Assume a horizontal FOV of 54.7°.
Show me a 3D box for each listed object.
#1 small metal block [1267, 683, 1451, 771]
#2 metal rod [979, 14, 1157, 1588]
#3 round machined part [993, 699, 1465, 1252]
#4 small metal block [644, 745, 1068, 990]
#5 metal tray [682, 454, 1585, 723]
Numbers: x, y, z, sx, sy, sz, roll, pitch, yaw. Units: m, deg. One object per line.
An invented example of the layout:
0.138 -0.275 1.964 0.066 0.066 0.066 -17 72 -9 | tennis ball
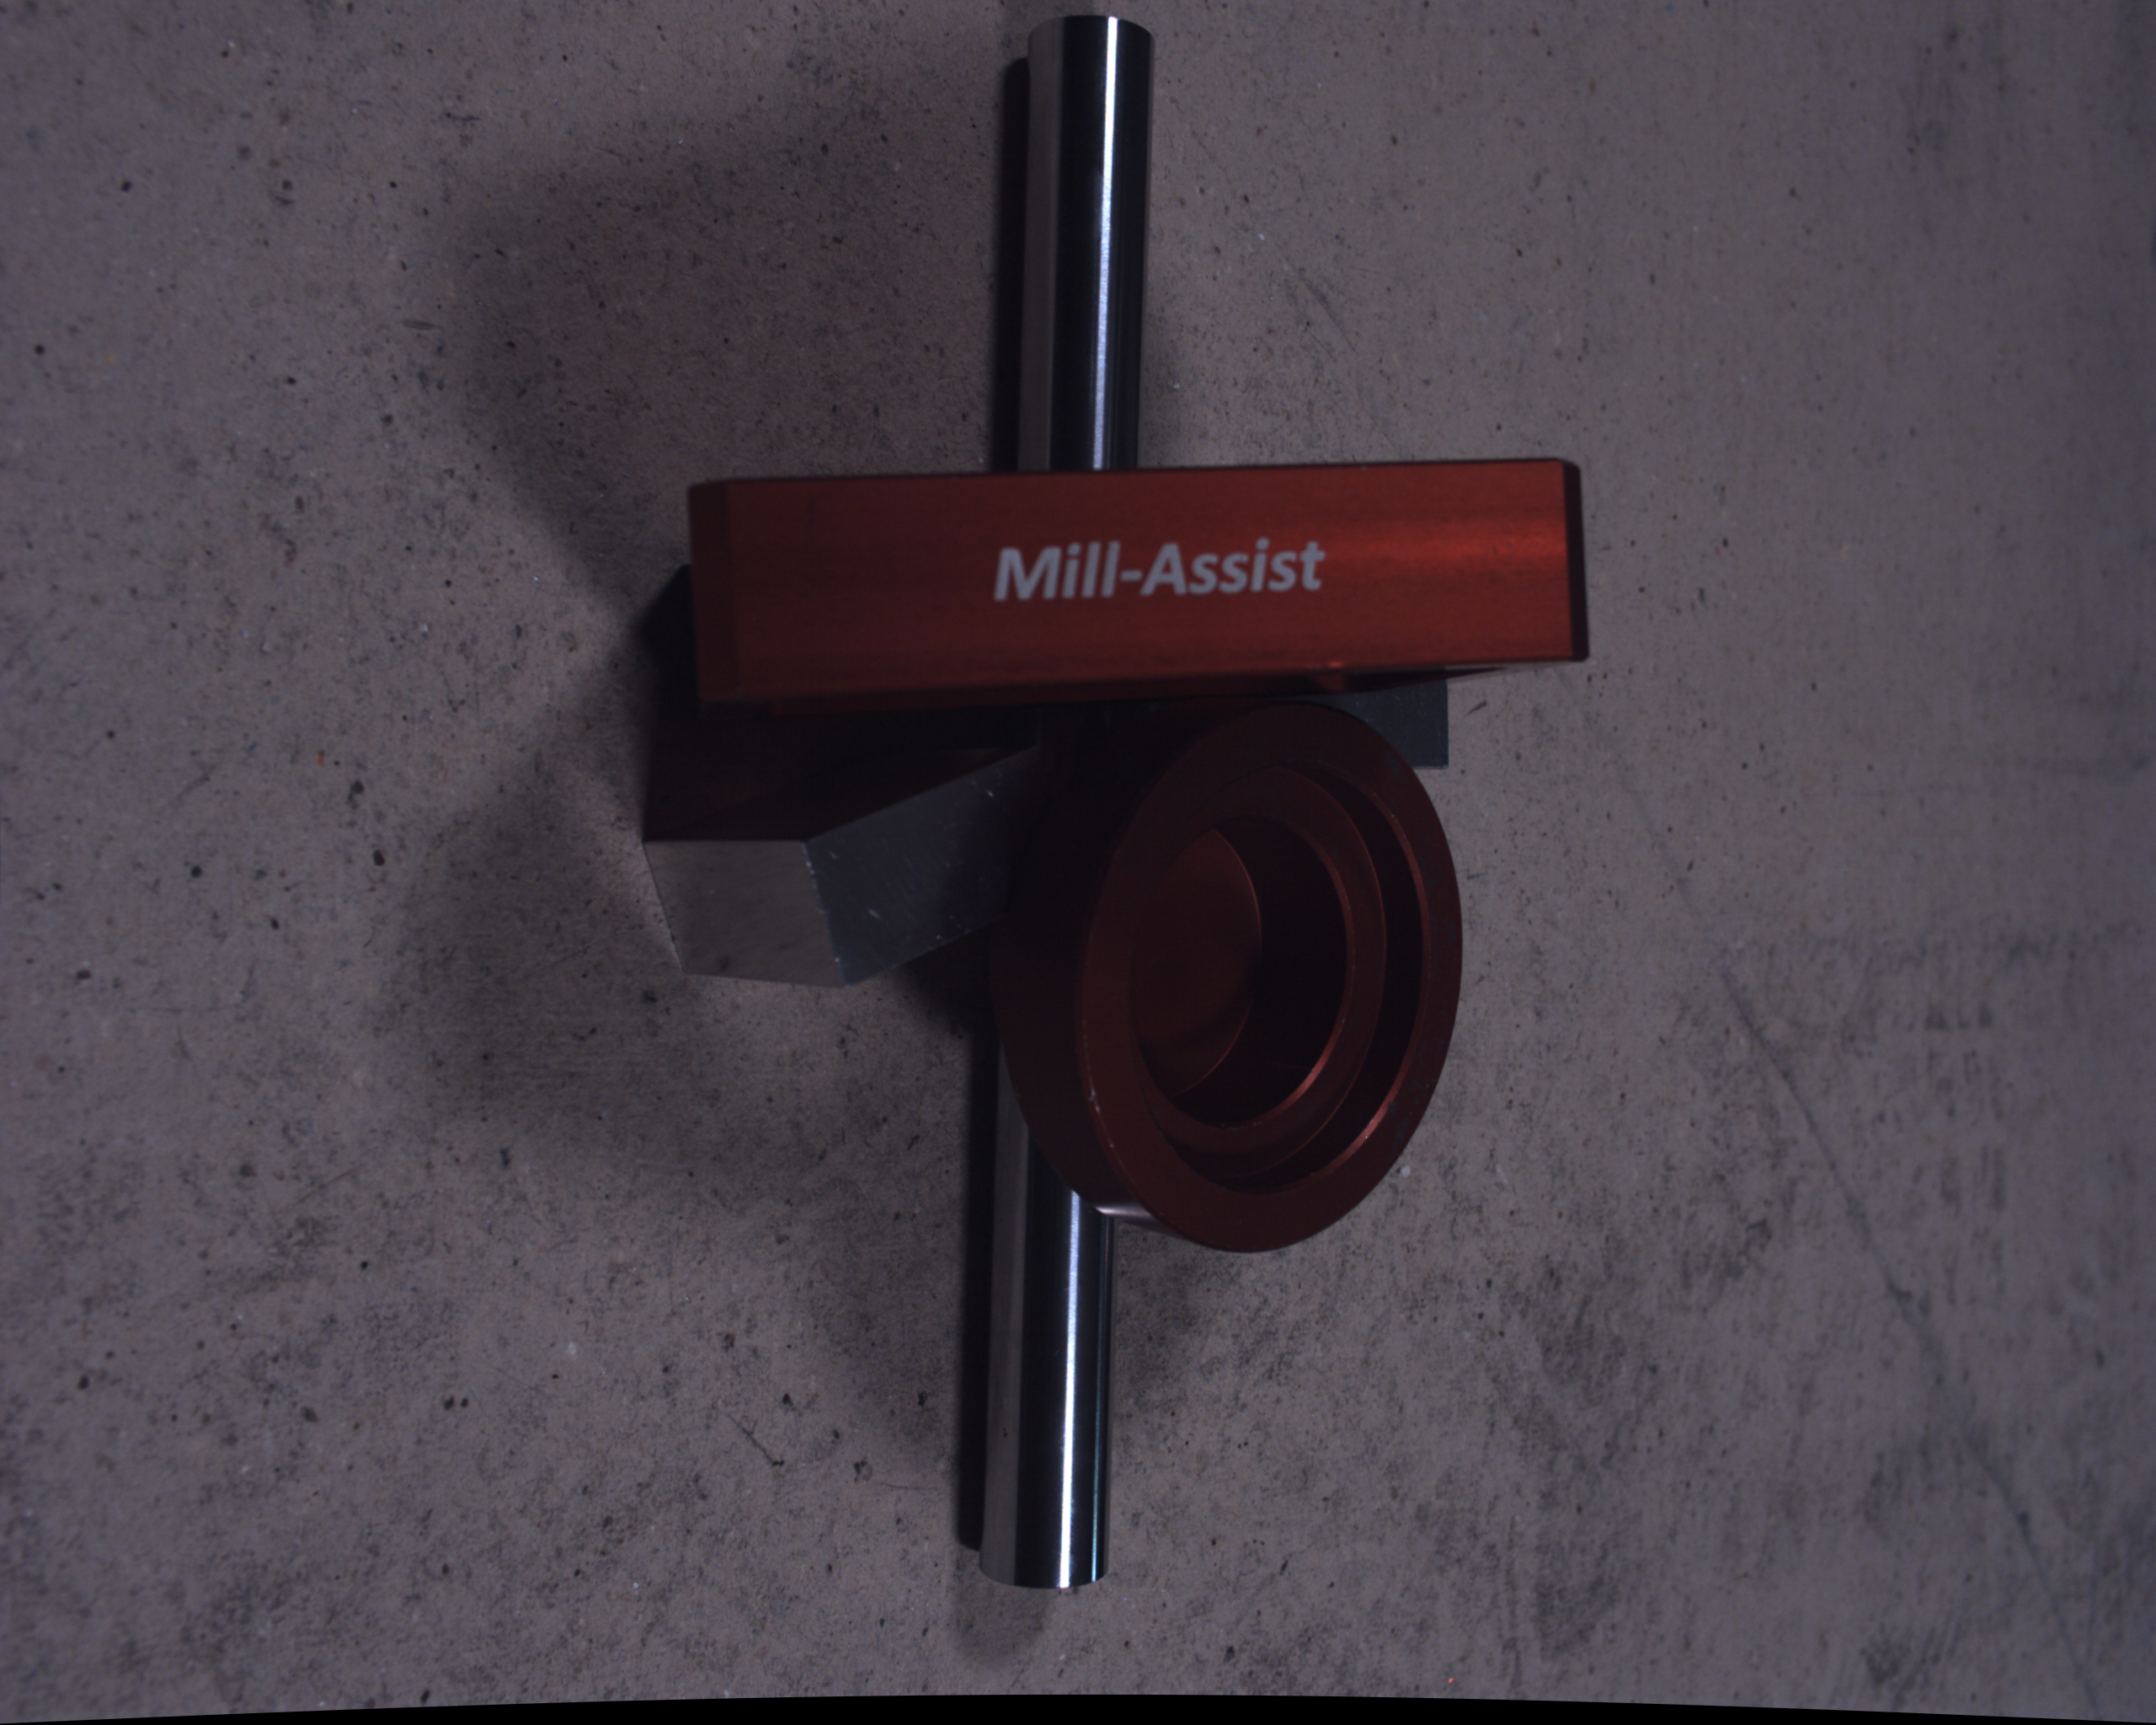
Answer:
0.040 -0.030 0.426 0.050 0.050 0.025 -2 92 -40 | small metal block
-0.002 -0.013 0.407 0.025 0.025 0.298 3 88 -40 | metal rod
0.024 0.019 0.381 0.099 0.042 0.097 -4 96 -42 | round machined part
-0.038 0.000 0.360 0.050 0.050 0.025 -25 106 -38 | small metal block
0.003 -0.042 0.338 0.131 0.090 0.030 -4 92 -11 | metal tray
